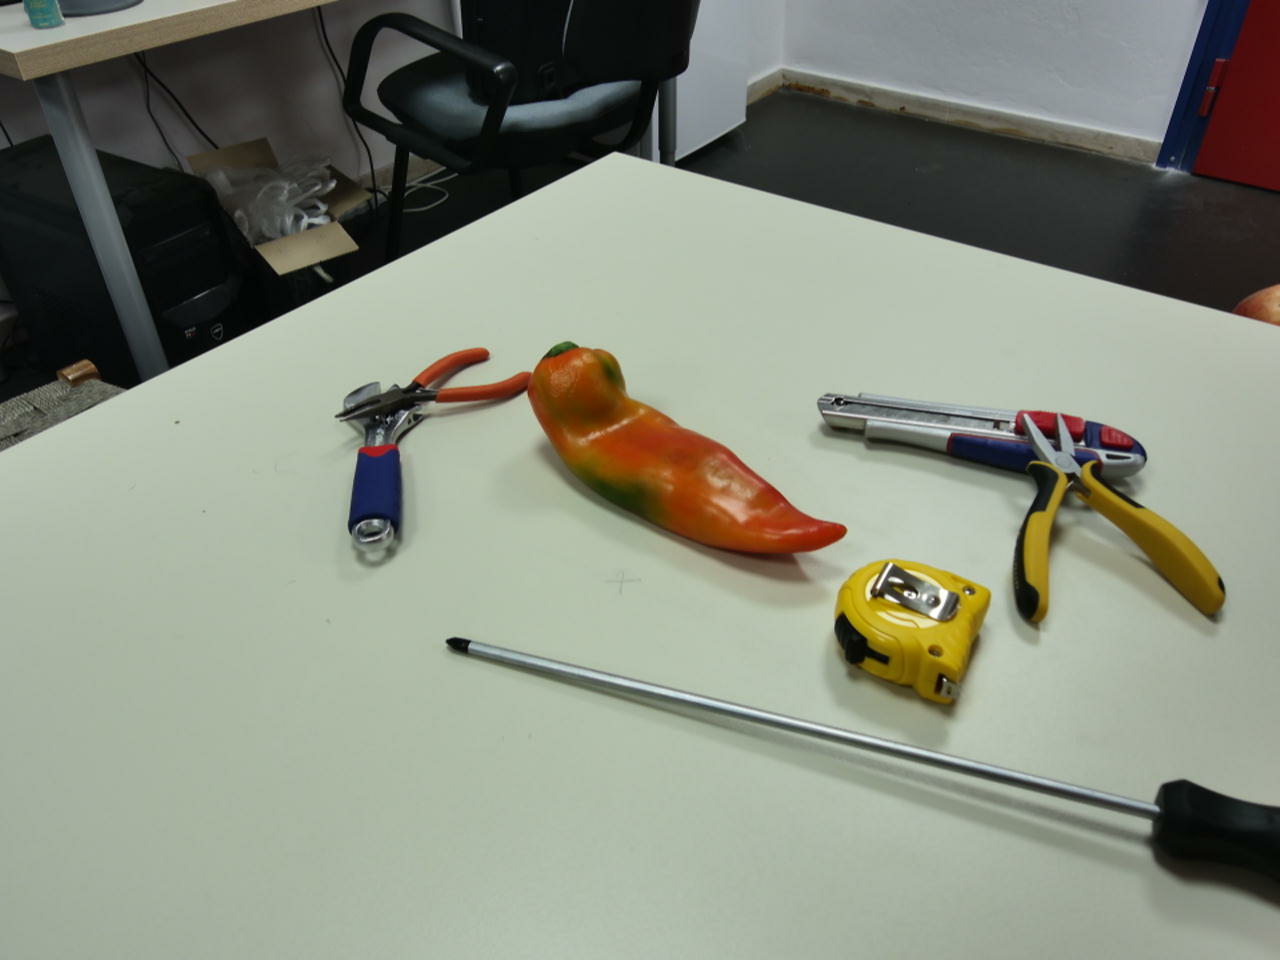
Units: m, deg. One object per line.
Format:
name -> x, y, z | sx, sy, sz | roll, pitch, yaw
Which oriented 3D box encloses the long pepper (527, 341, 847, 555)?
long pepper -> 0.019, -0.015, 0.524 | 0.199, 0.065, 0.066 | 29, 47, 33
